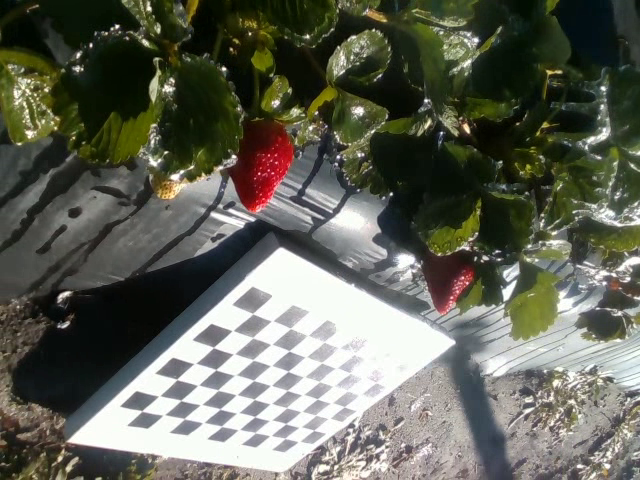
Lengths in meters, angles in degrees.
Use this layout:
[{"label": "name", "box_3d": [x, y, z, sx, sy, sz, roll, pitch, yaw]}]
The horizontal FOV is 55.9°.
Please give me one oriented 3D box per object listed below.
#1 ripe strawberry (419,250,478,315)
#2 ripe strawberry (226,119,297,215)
[{"label": "ripe strawberry", "box_3d": [0.111, 0.039, 0.511, 0.048, 0.061, 0.044, 23, -2, -41]}, {"label": "ripe strawberry", "box_3d": [-0.040, -0.041, 0.360, 0.042, 0.061, 0.046, 15, -6, -37]}]
